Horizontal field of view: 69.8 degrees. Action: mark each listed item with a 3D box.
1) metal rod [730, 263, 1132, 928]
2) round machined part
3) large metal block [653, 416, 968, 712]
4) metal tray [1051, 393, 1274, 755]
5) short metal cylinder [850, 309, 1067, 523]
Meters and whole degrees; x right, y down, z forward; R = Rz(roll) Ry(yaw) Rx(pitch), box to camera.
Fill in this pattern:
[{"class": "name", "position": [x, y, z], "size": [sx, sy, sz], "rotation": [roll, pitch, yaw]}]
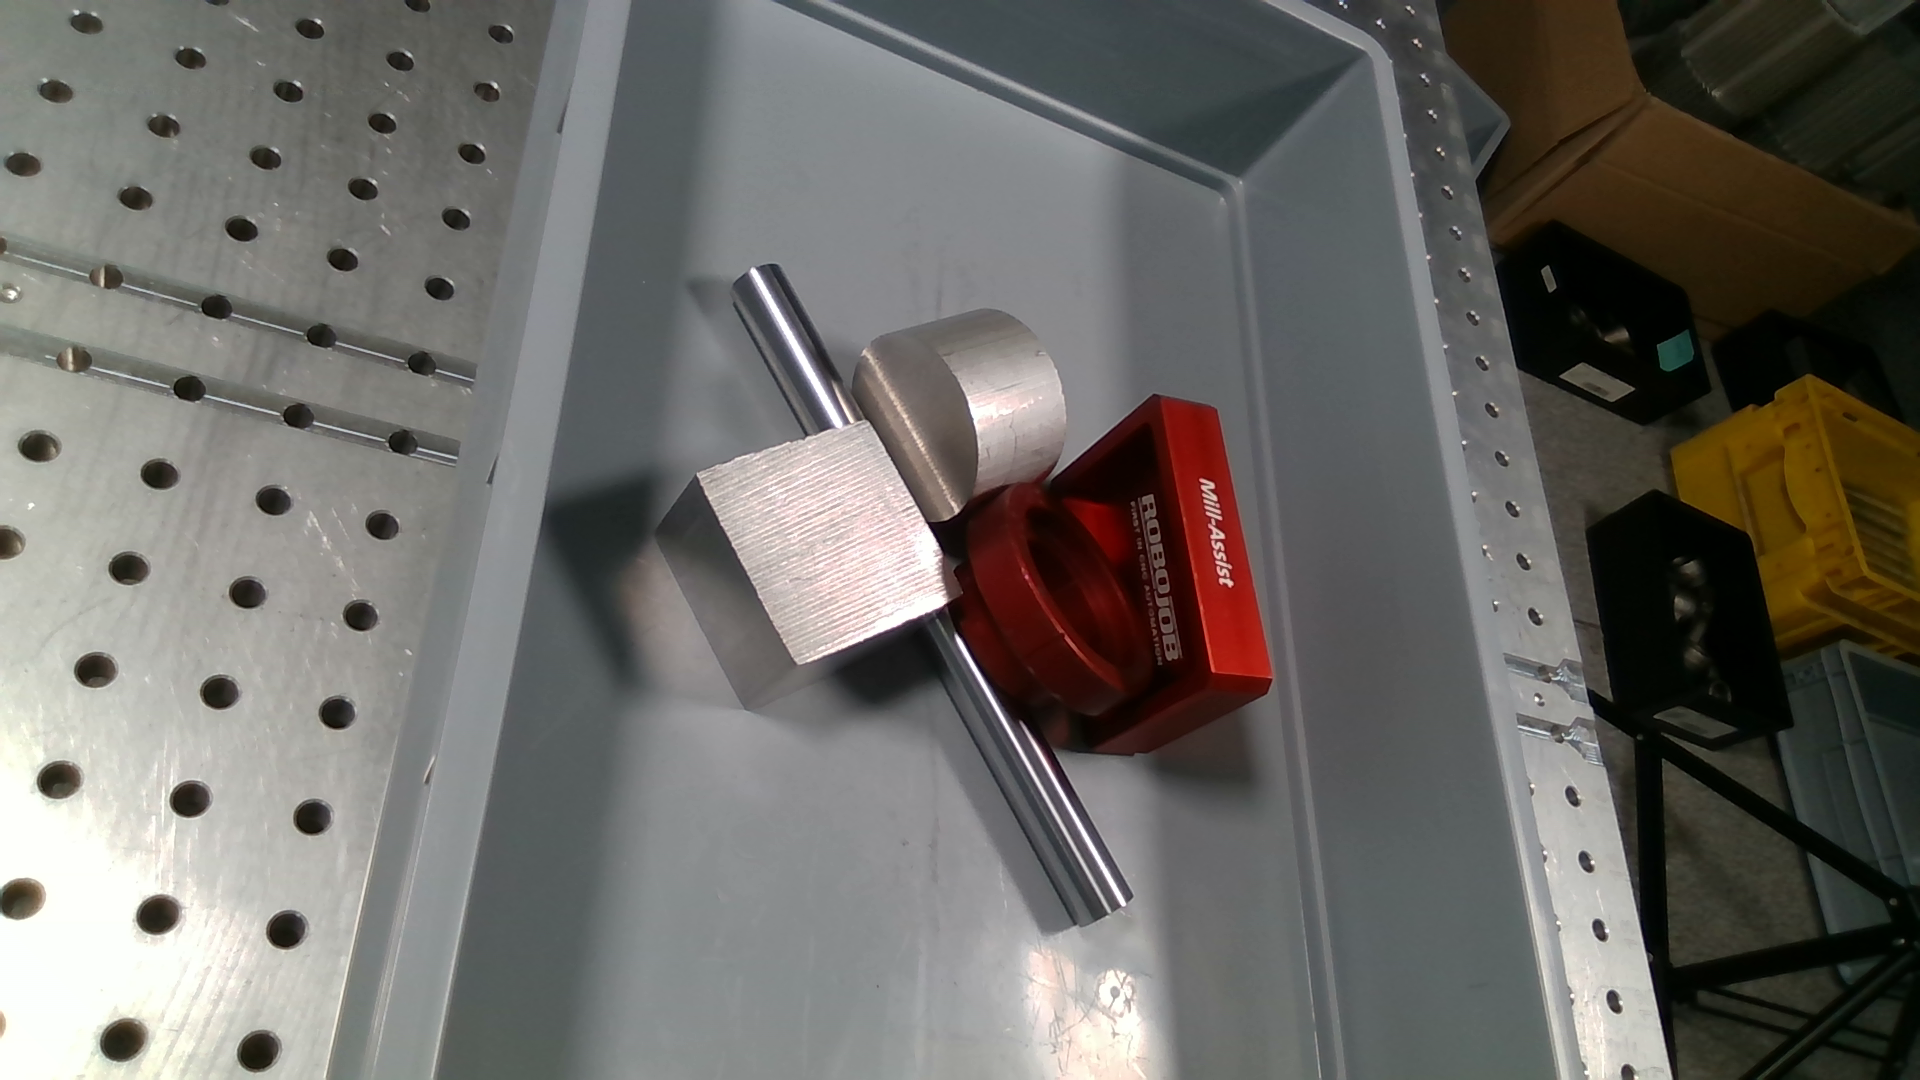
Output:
[{"class": "metal rod", "position": [-0.015, 0.017, 0.566], "size": [0.025, 0.025, 0.300], "rotation": [-22, 78, -38]}, {"class": "round machined part", "position": [0.033, 0.029, 0.561], "size": [0.098, 0.042, 0.098], "rotation": [44, 26, -28]}, {"class": "large metal block", "position": [-0.057, 0.008, 0.527], "size": [0.080, 0.050, 0.080], "rotation": [-22, 78, -38]}, {"class": "metal tray", "position": [0.081, 0.016, 0.583], "size": [0.030, 0.090, 0.130], "rotation": [8, 62, -28]}, {"class": "short metal cylinder", "position": [-0.002, -0.052, 0.576], "size": [0.050, 0.080, 0.080], "rotation": [-23, 78, -38]}]
